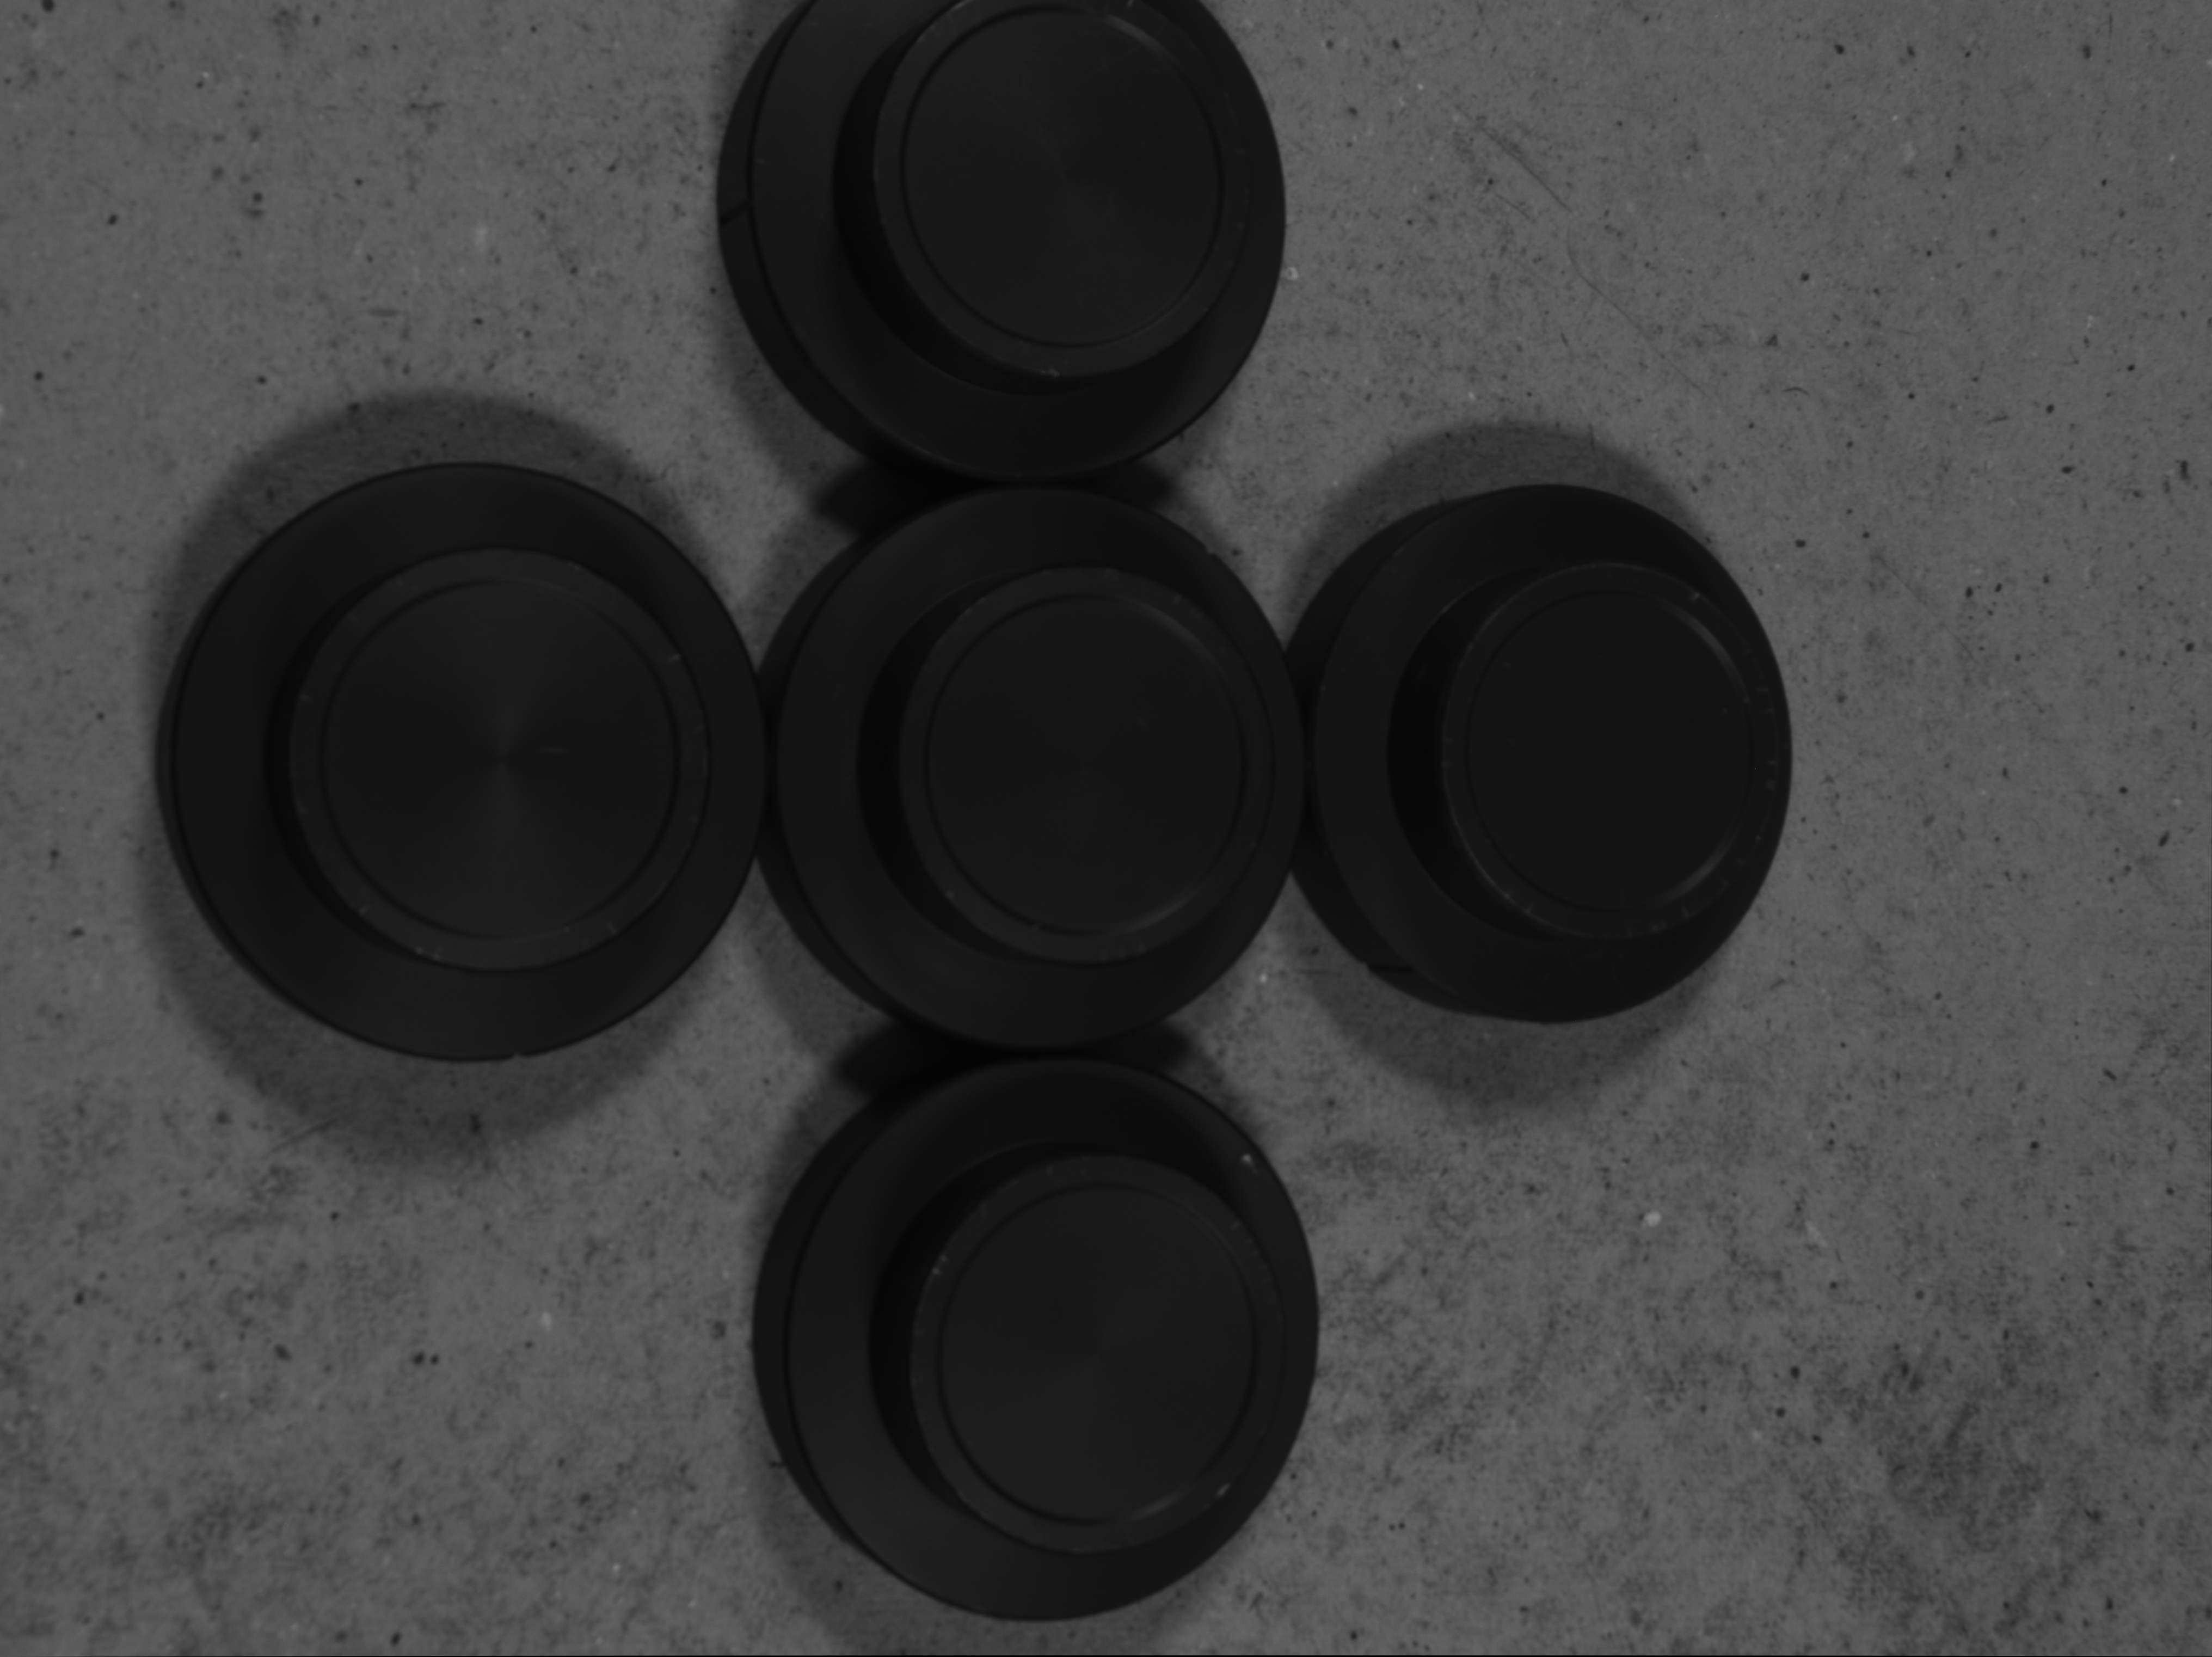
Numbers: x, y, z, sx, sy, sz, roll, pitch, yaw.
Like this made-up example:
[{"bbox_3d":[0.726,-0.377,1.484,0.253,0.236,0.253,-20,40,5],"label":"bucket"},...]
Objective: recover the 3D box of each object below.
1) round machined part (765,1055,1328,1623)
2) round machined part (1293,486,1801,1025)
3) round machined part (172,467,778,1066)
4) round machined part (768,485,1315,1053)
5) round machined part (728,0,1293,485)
[{"bbox_3d":[-0.006,0.088,0.632,0.098,0.042,0.098,0,90,-20],"label":"round machined part"},{"bbox_3d":[0.084,-0.013,0.665,0.098,0.042,0.098,0,90,-20],"label":"round machined part"},{"bbox_3d":[-0.101,-0.010,0.598,0.098,0.042,0.098,0,90,-20],"label":"round machined part"},{"bbox_3d":[-0.009,-0.010,0.631,0.098,0.042,0.098,0,90,-20],"label":"round machined part"},{"bbox_3d":[-0.013,-0.109,0.630,0.098,0.042,0.098,0,90,-20],"label":"round machined part"}]
